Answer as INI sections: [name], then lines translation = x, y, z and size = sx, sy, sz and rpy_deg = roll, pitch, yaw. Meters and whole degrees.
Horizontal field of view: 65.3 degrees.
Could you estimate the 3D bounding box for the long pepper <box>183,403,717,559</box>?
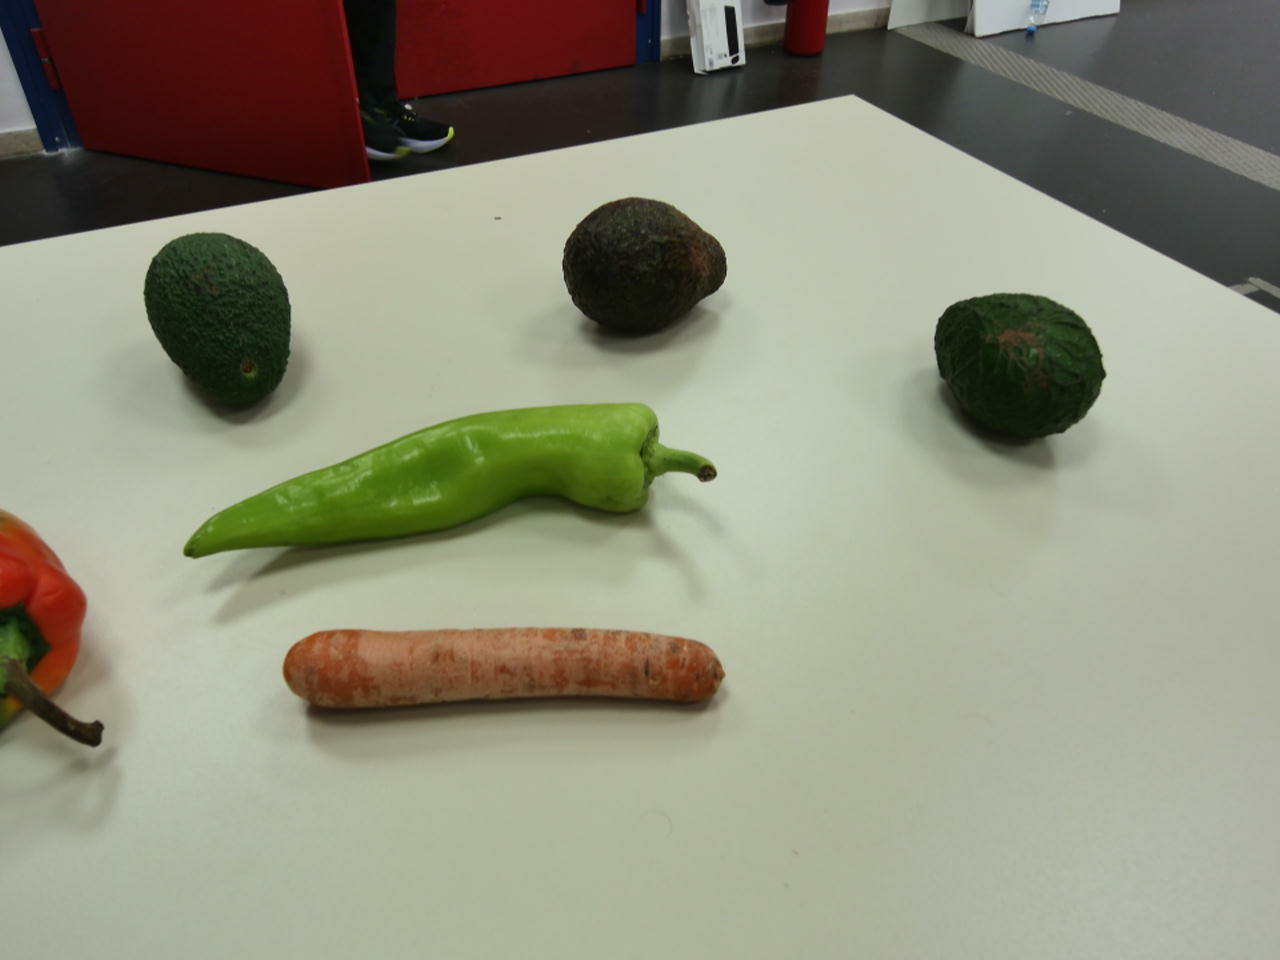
[long pepper]
translation = -0.073, -0.002, 0.411
size = 0.204, 0.045, 0.065
rpy_deg = -7, 38, -9
